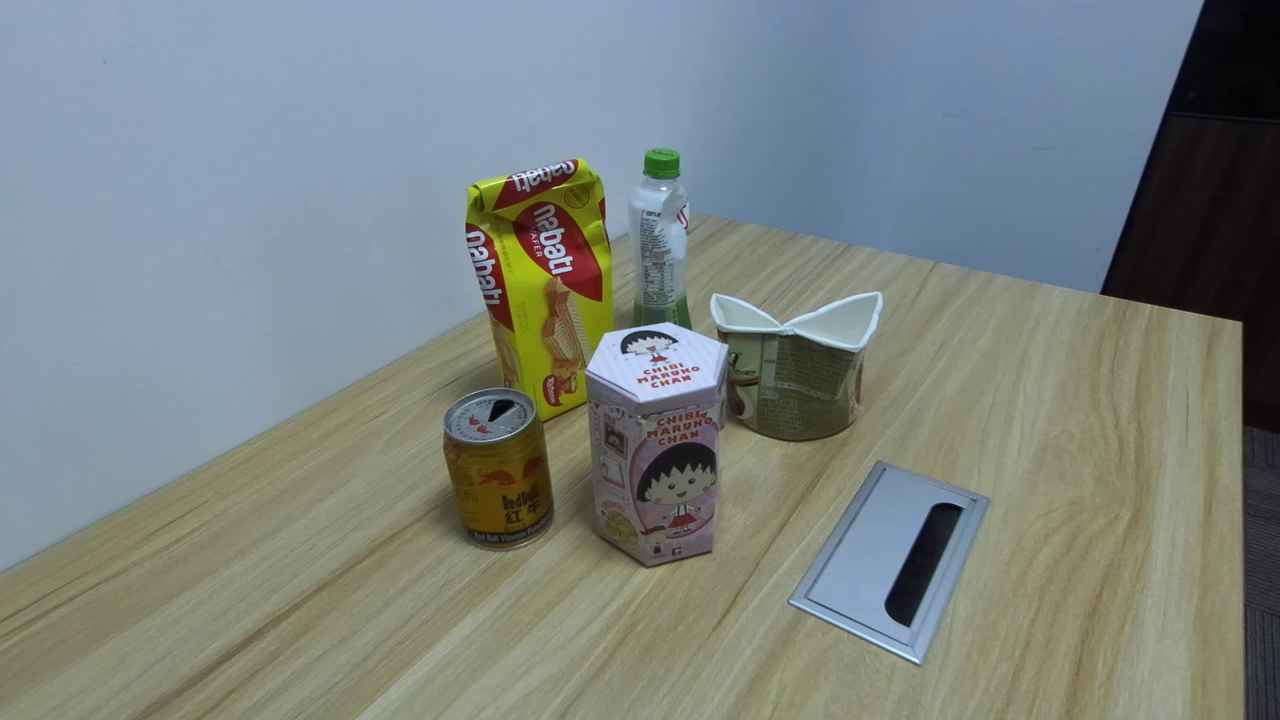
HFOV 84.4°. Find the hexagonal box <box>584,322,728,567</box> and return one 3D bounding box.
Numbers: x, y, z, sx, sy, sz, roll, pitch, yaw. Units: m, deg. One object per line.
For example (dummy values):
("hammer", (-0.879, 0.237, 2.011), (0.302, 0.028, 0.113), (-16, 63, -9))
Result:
("hexagonal box", (0.013, 0.055, 0.456), (0.091, 0.136, 0.083), (-11, 32, -14))

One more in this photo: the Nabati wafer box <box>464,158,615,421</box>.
("Nabati wafer box", (-0.072, -0.050, 0.572), (0.114, 0.205, 0.042), (-22, 34, -29))

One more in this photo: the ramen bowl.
("ramen bowl", (0.123, -0.004, 0.584), (0.128, 0.093, 0.112), (10, 35, 19))

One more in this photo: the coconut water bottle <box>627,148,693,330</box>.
("coconut water bottle", (0.019, -0.099, 0.654), (0.069, 0.187, 0.069), (0, 28, 0))
